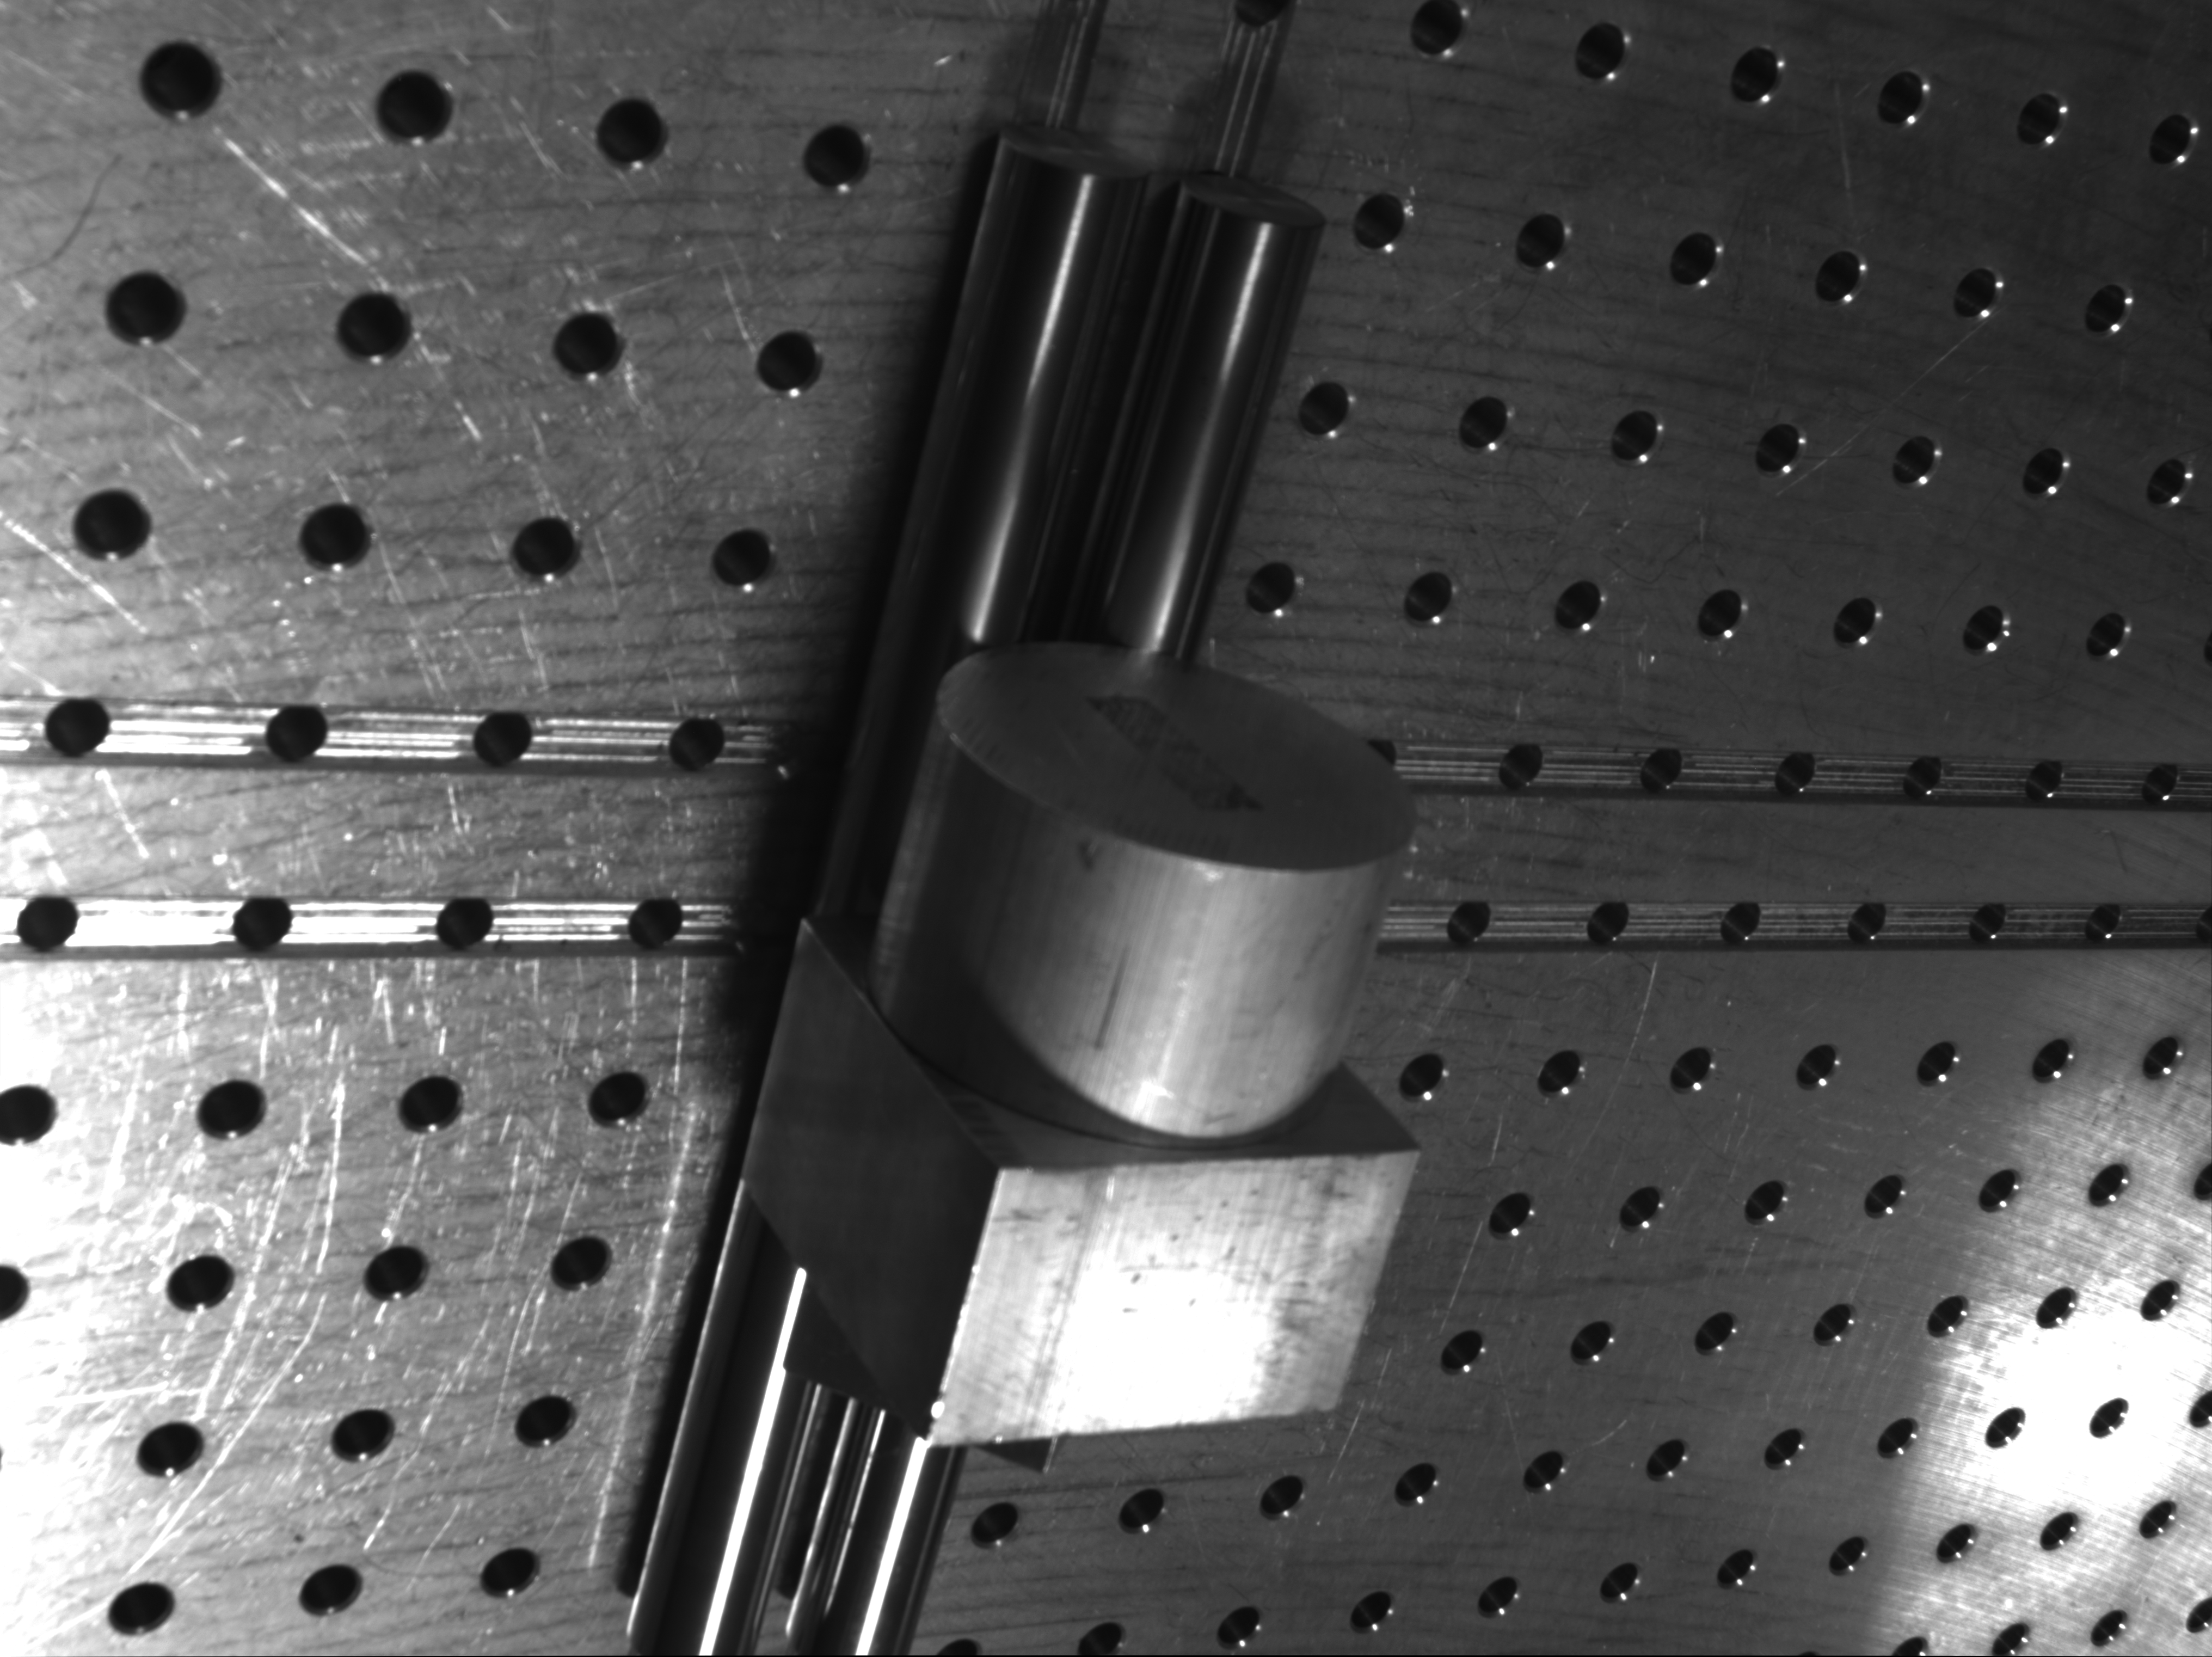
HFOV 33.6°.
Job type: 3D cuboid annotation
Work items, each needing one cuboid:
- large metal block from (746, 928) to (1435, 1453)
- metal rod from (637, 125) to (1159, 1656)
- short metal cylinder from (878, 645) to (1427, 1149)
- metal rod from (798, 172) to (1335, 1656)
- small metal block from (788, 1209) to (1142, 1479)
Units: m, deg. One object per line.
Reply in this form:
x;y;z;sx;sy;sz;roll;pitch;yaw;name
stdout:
-0.004;0.058;0.619;0.080;0.080;0.050;0;118;-30;large metal block
-0.041;0.024;0.646;0.025;0.025;0.300;1;118;-31;metal rod
0.007;0.010;0.600;0.080;0.080;0.050;1;118;-31;short metal cylinder
-0.011;0.028;0.666;0.025;0.025;0.300;1;118;-31;metal rod
-0.021;0.083;0.647;0.050;0.050;0.025;-47;156;-64;small metal block
